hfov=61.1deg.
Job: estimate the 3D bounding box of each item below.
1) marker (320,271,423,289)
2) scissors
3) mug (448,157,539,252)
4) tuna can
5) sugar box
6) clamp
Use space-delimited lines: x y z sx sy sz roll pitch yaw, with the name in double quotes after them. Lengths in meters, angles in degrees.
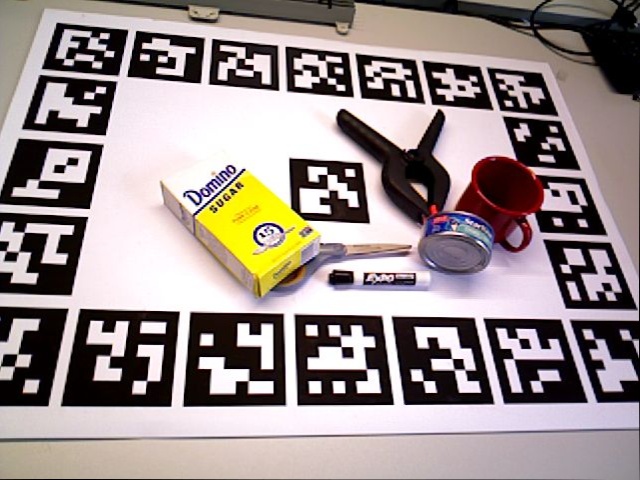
0.060 0.047 0.630 0.120 0.020 0.019 0 59 -11 "marker"
0.013 0.008 0.641 0.200 0.016 0.087 -6 56 -17 "scissors"
0.217 -0.034 0.677 0.091 0.083 0.116 -22 62 -24 "mug"
0.163 0.005 0.636 0.085 0.088 0.033 17 56 -1 "tuna can"
-0.089 -0.025 0.622 0.091 0.046 0.176 -32 64 -27 "sugar box"
0.118 -0.099 0.734 0.163 0.037 0.201 -7 61 -16 "clamp"
